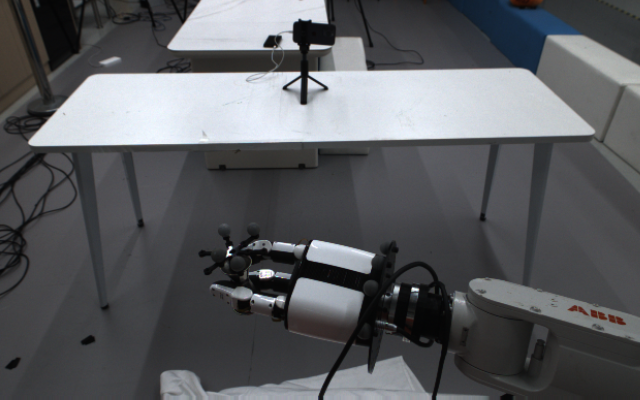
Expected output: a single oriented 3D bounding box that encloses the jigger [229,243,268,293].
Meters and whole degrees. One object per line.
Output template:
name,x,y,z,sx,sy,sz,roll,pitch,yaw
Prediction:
jigger,-0.097,0.105,0.626,0.043,0.071,0.043,-8,31,5
